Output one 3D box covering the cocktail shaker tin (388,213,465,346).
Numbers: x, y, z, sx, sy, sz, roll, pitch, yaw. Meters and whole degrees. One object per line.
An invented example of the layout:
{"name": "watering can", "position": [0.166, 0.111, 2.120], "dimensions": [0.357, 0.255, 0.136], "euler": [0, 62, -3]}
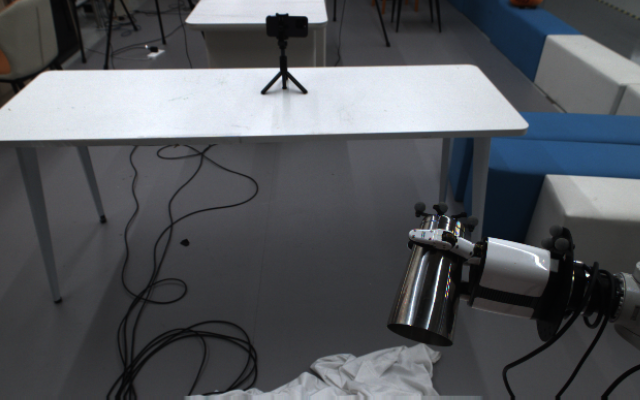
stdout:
{"name": "cocktail shaker tin", "position": [0.162, 0.107, 0.692], "dimensions": [0.093, 0.093, 0.170], "euler": [13, 65, 15]}
